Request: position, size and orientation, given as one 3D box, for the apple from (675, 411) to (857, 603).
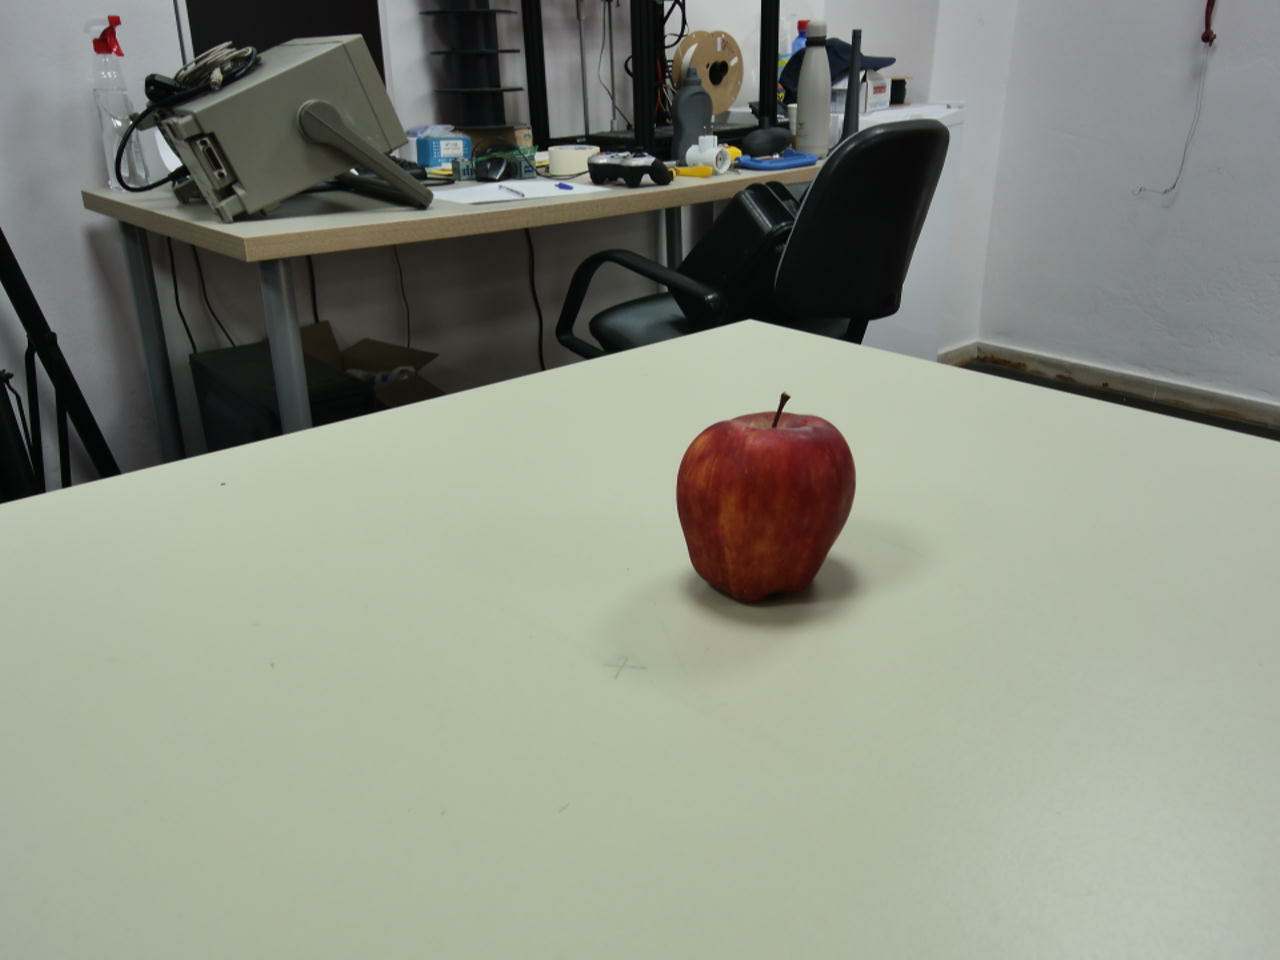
[{"bbox_3d":[0.058,0.004,0.452,0.083,0.090,0.083,1,22,0],"label":"apple"}]
